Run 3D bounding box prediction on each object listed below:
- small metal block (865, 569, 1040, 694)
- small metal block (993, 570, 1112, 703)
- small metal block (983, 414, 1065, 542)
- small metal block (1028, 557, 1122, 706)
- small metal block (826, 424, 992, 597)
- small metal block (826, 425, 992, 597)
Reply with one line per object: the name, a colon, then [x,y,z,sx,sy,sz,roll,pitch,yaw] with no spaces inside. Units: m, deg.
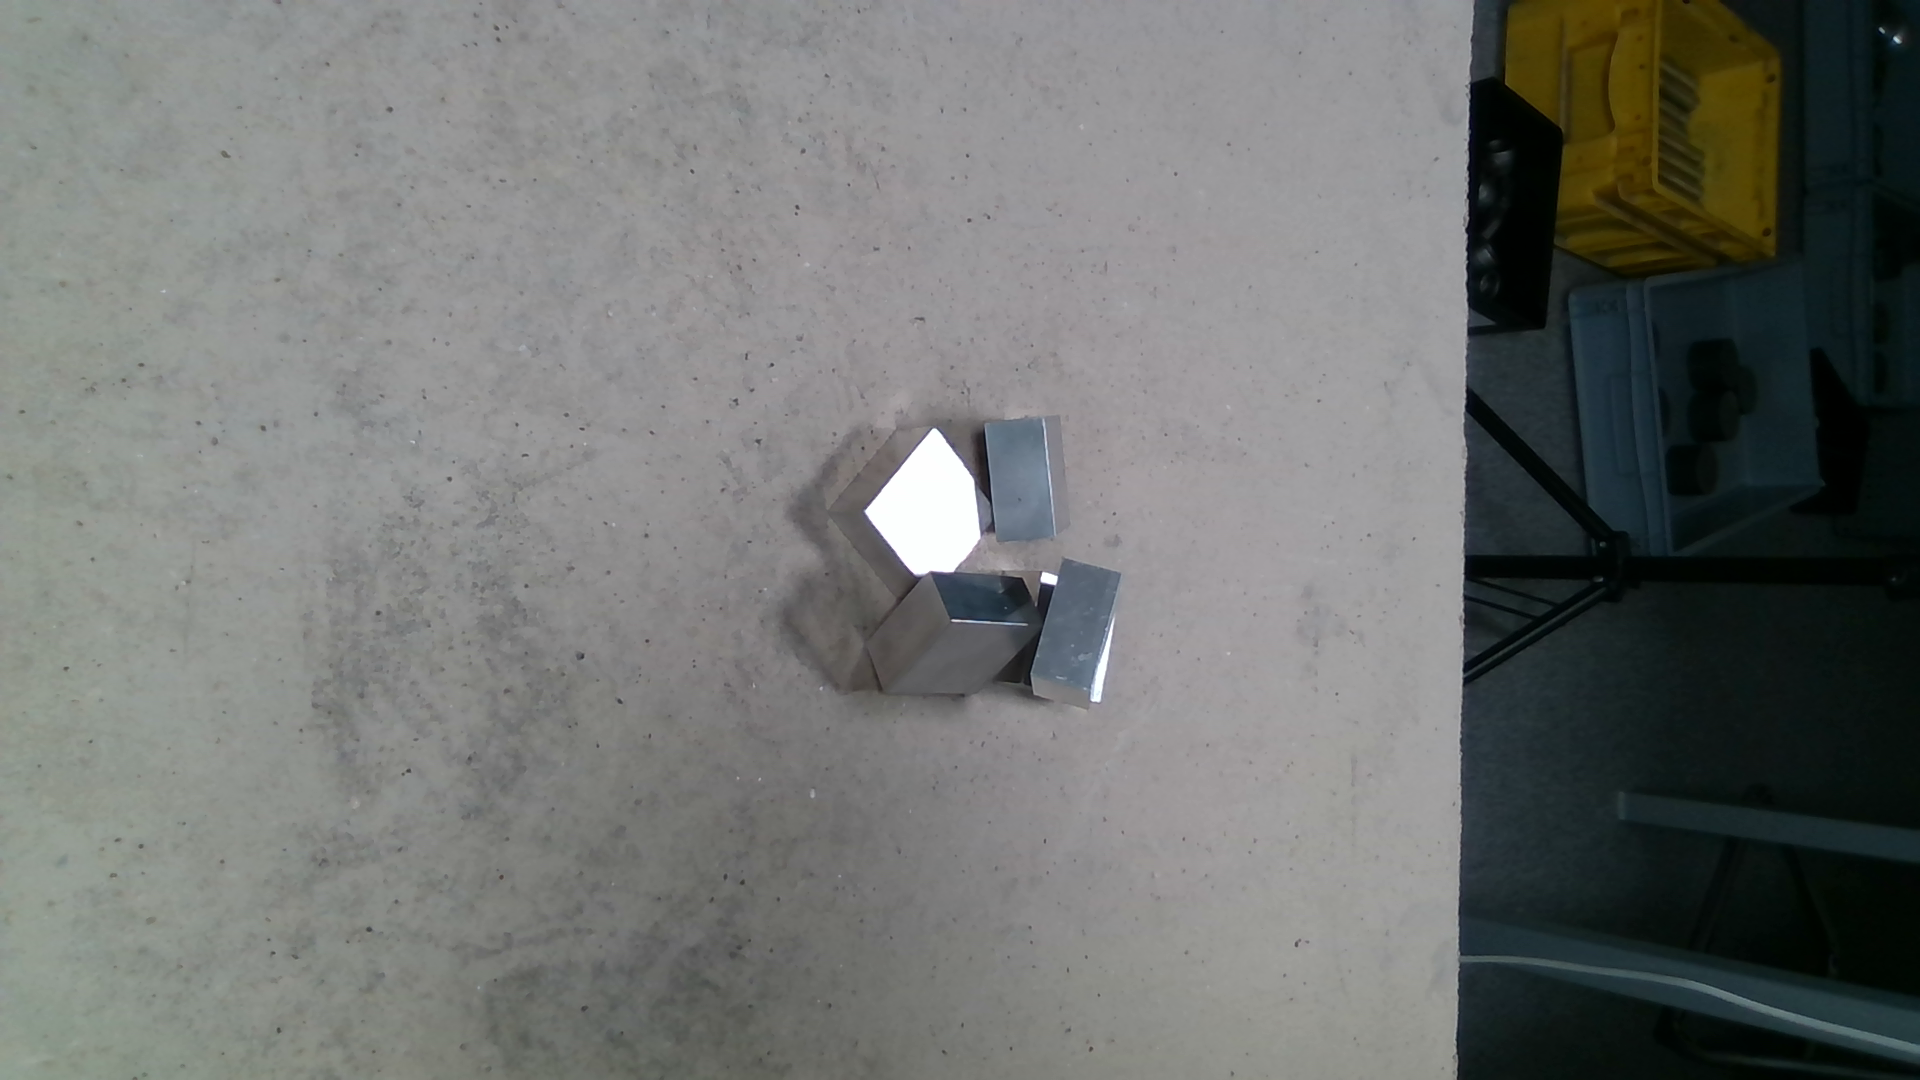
small metal block: [-0.002,0.039,0.562,0.050,0.050,0.025,6,48,-41]
small metal block: [0.041,0.043,0.618,0.050,0.025,0.050,18,79,-39]
small metal block: [0.029,-0.028,0.592,0.050,0.025,0.050,-29,114,-77]
small metal block: [0.048,0.040,0.574,0.050,0.025,0.050,74,32,-74]
small metal block: [-0.019,-0.012,0.568,0.050,0.025,0.050,53,59,-27]
small metal block: [-0.019,-0.011,0.568,0.050,0.025,0.050,-53,121,-27]
